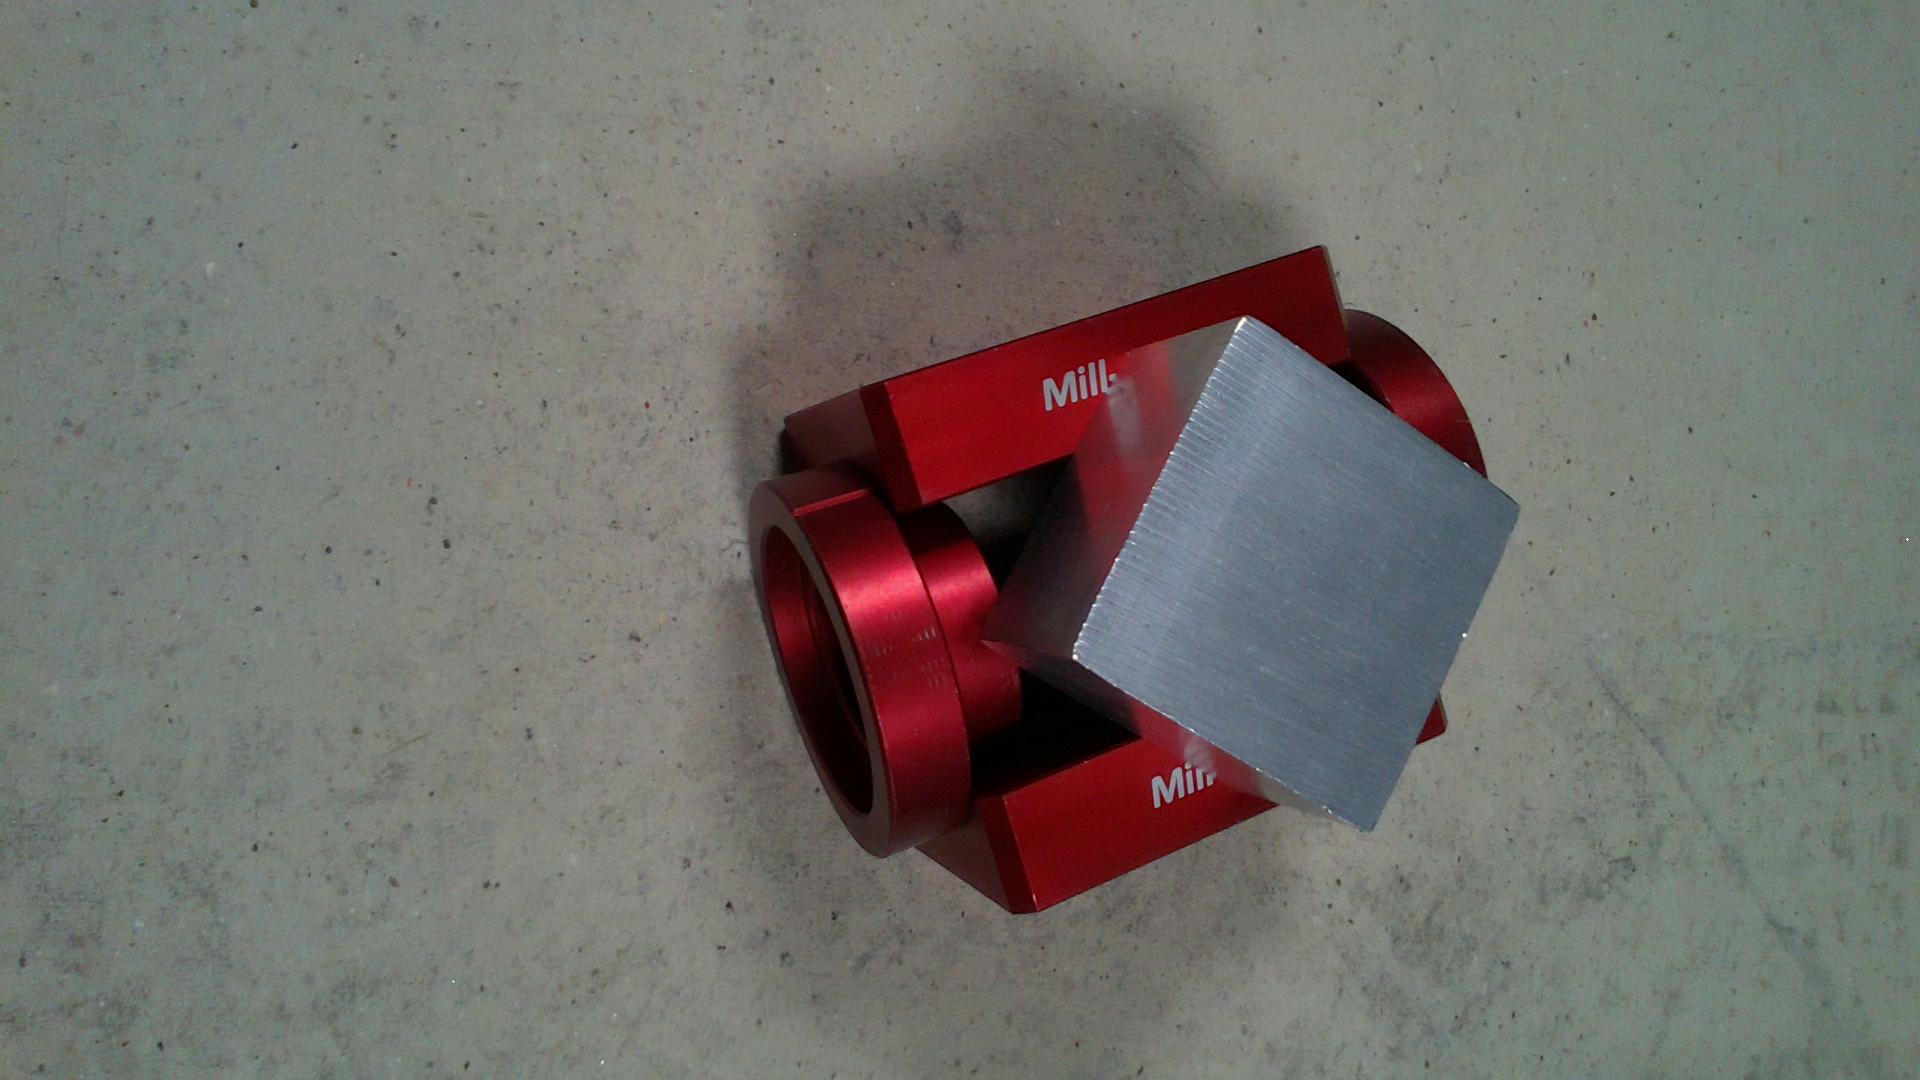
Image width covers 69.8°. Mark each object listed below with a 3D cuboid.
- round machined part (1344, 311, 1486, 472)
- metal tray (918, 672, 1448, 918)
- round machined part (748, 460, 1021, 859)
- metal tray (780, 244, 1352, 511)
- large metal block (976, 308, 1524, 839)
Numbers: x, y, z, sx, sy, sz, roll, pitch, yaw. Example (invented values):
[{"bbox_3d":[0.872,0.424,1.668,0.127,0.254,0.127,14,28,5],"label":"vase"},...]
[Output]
[{"bbox_3d":[0.100,-0.013,0.391,0.042,0.098,0.098,-17,96,-19],"label":"round machined part"},{"bbox_3d":[0.053,0.054,0.377,0.130,0.090,0.030,-19,96,-19],"label":"metal tray"},{"bbox_3d":[-0.018,0.027,0.348,0.042,0.098,0.098,-17,96,-19],"label":"round machined part"},{"bbox_3d":[0.025,-0.041,0.369,0.130,0.090,0.030,-19,97,-19],"label":"metal tray"},{"bbox_3d":[0.063,0.008,0.305,0.080,0.050,0.080,31,80,-17],"label":"large metal block"}]
